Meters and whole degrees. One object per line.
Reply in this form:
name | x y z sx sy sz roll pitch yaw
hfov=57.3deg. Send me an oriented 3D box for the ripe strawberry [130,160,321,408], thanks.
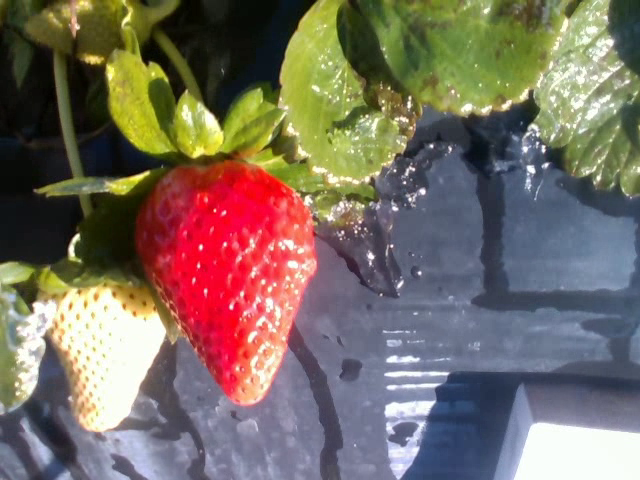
ripe strawberry | -0.018 0.014 0.140 0.042 0.061 0.046 -7 -15 11
